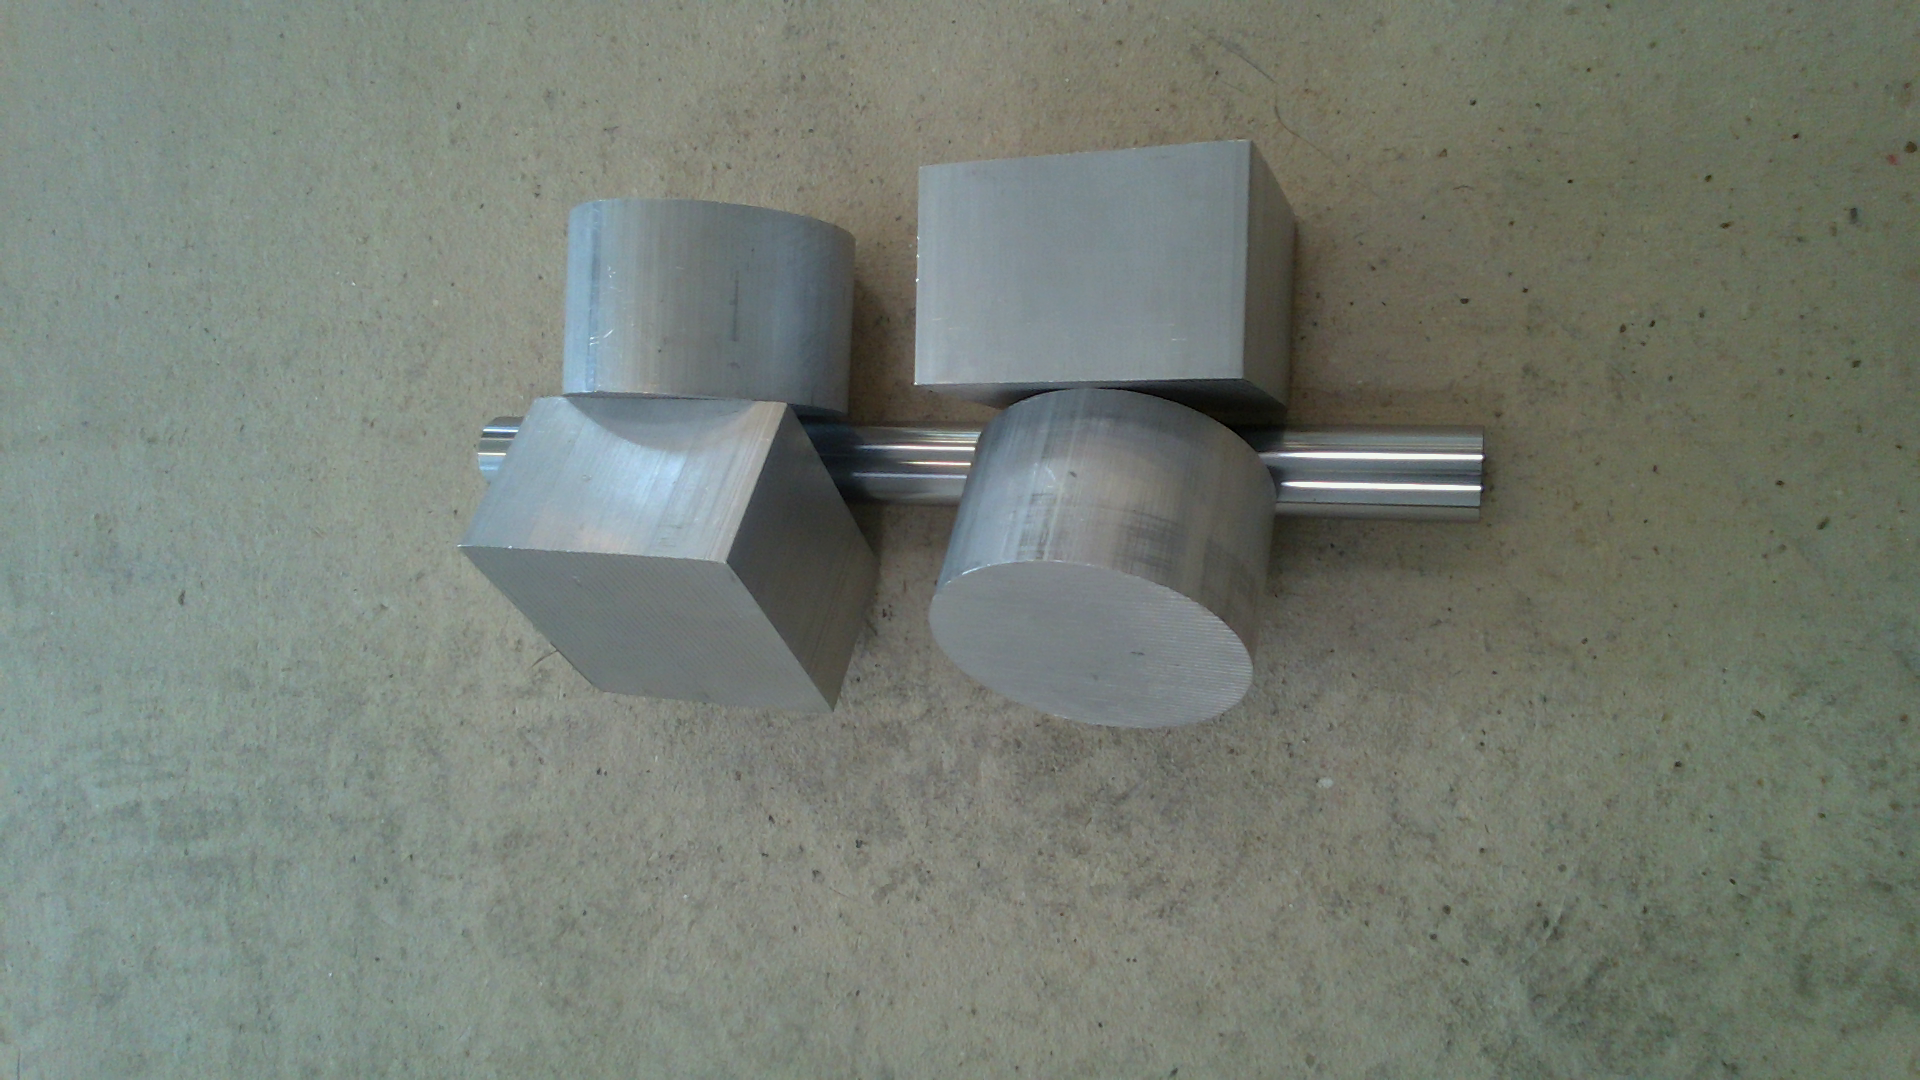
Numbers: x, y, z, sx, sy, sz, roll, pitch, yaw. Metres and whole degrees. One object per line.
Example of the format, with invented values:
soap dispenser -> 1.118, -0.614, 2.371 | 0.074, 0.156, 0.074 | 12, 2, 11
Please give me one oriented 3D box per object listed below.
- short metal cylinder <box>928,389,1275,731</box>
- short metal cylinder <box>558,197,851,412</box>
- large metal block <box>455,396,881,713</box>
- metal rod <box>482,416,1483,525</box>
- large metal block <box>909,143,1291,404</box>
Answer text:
short metal cylinder -> 0.037, 0.007, 0.347 | 0.080, 0.080, 0.050 | 2, 56, 20
short metal cylinder -> -0.072, -0.064, 0.392 | 0.080, 0.080, 0.050 | 4, 91, 20
large metal block -> -0.078, 0.005, 0.388 | 0.080, 0.080, 0.050 | 3, 57, 20
metal rod -> -0.008, -0.022, 0.401 | 0.299, 0.025, 0.025 | 2, 91, 20
large metal block -> 0.040, -0.063, 0.352 | 0.080, 0.080, 0.050 | 1, 91, 20
